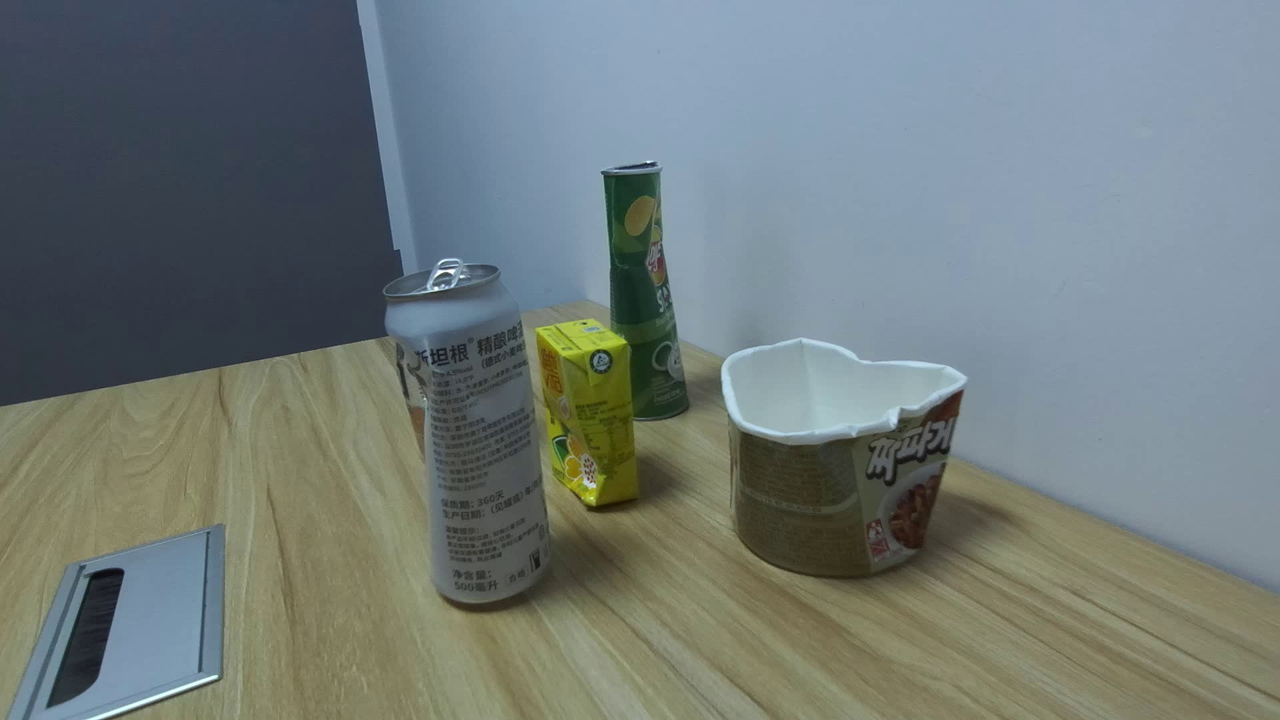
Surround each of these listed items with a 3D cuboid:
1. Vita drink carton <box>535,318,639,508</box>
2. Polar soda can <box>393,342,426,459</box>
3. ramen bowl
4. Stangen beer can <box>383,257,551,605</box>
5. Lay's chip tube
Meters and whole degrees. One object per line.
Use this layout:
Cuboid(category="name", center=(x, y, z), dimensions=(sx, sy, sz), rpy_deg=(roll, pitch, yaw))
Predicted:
Cuboid(category="Vita drink carton", center=(-0.032, 0.035, 0.457), dimensions=(0.043, 0.109, 0.076), rpy_deg=(-11, 21, -20))
Cuboid(category="Polar soda can", center=(-0.116, 0.006, 0.446), dimensions=(0.067, 0.122, 0.074), rpy_deg=(10, 29, 44))
Cuboid(category="ramen bowl", center=(0.100, 0.053, 0.394), dimensions=(0.134, 0.097, 0.113), rpy_deg=(-19, 25, -41))
Cuboid(category="Stangen beer can", center=(-0.088, 0.039, 0.360), dimensions=(0.069, 0.173, 0.070), rpy_deg=(3, 19, 23))
Cuboid(category="Lay's chip tube", center=(0.002, -0.055, 0.574), dimensions=(0.069, 0.199, 0.074), rpy_deg=(-11, 19, -21))
